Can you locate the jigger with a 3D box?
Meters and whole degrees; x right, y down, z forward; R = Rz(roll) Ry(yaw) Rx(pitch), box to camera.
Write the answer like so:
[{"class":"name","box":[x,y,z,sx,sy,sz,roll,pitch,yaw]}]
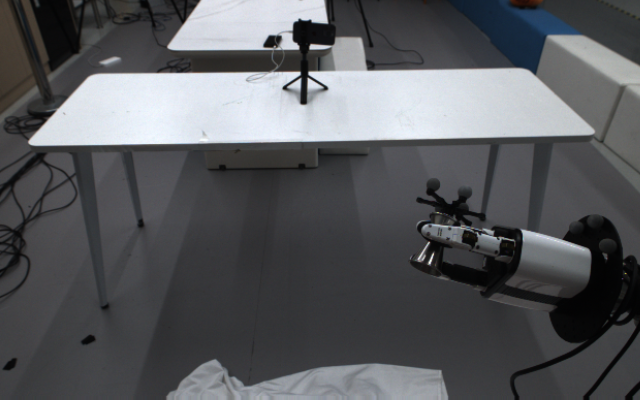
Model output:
[{"class":"jigger","box":[0.142,0.051,0.592,0.043,0.043,0.071,19,72,23]}]
